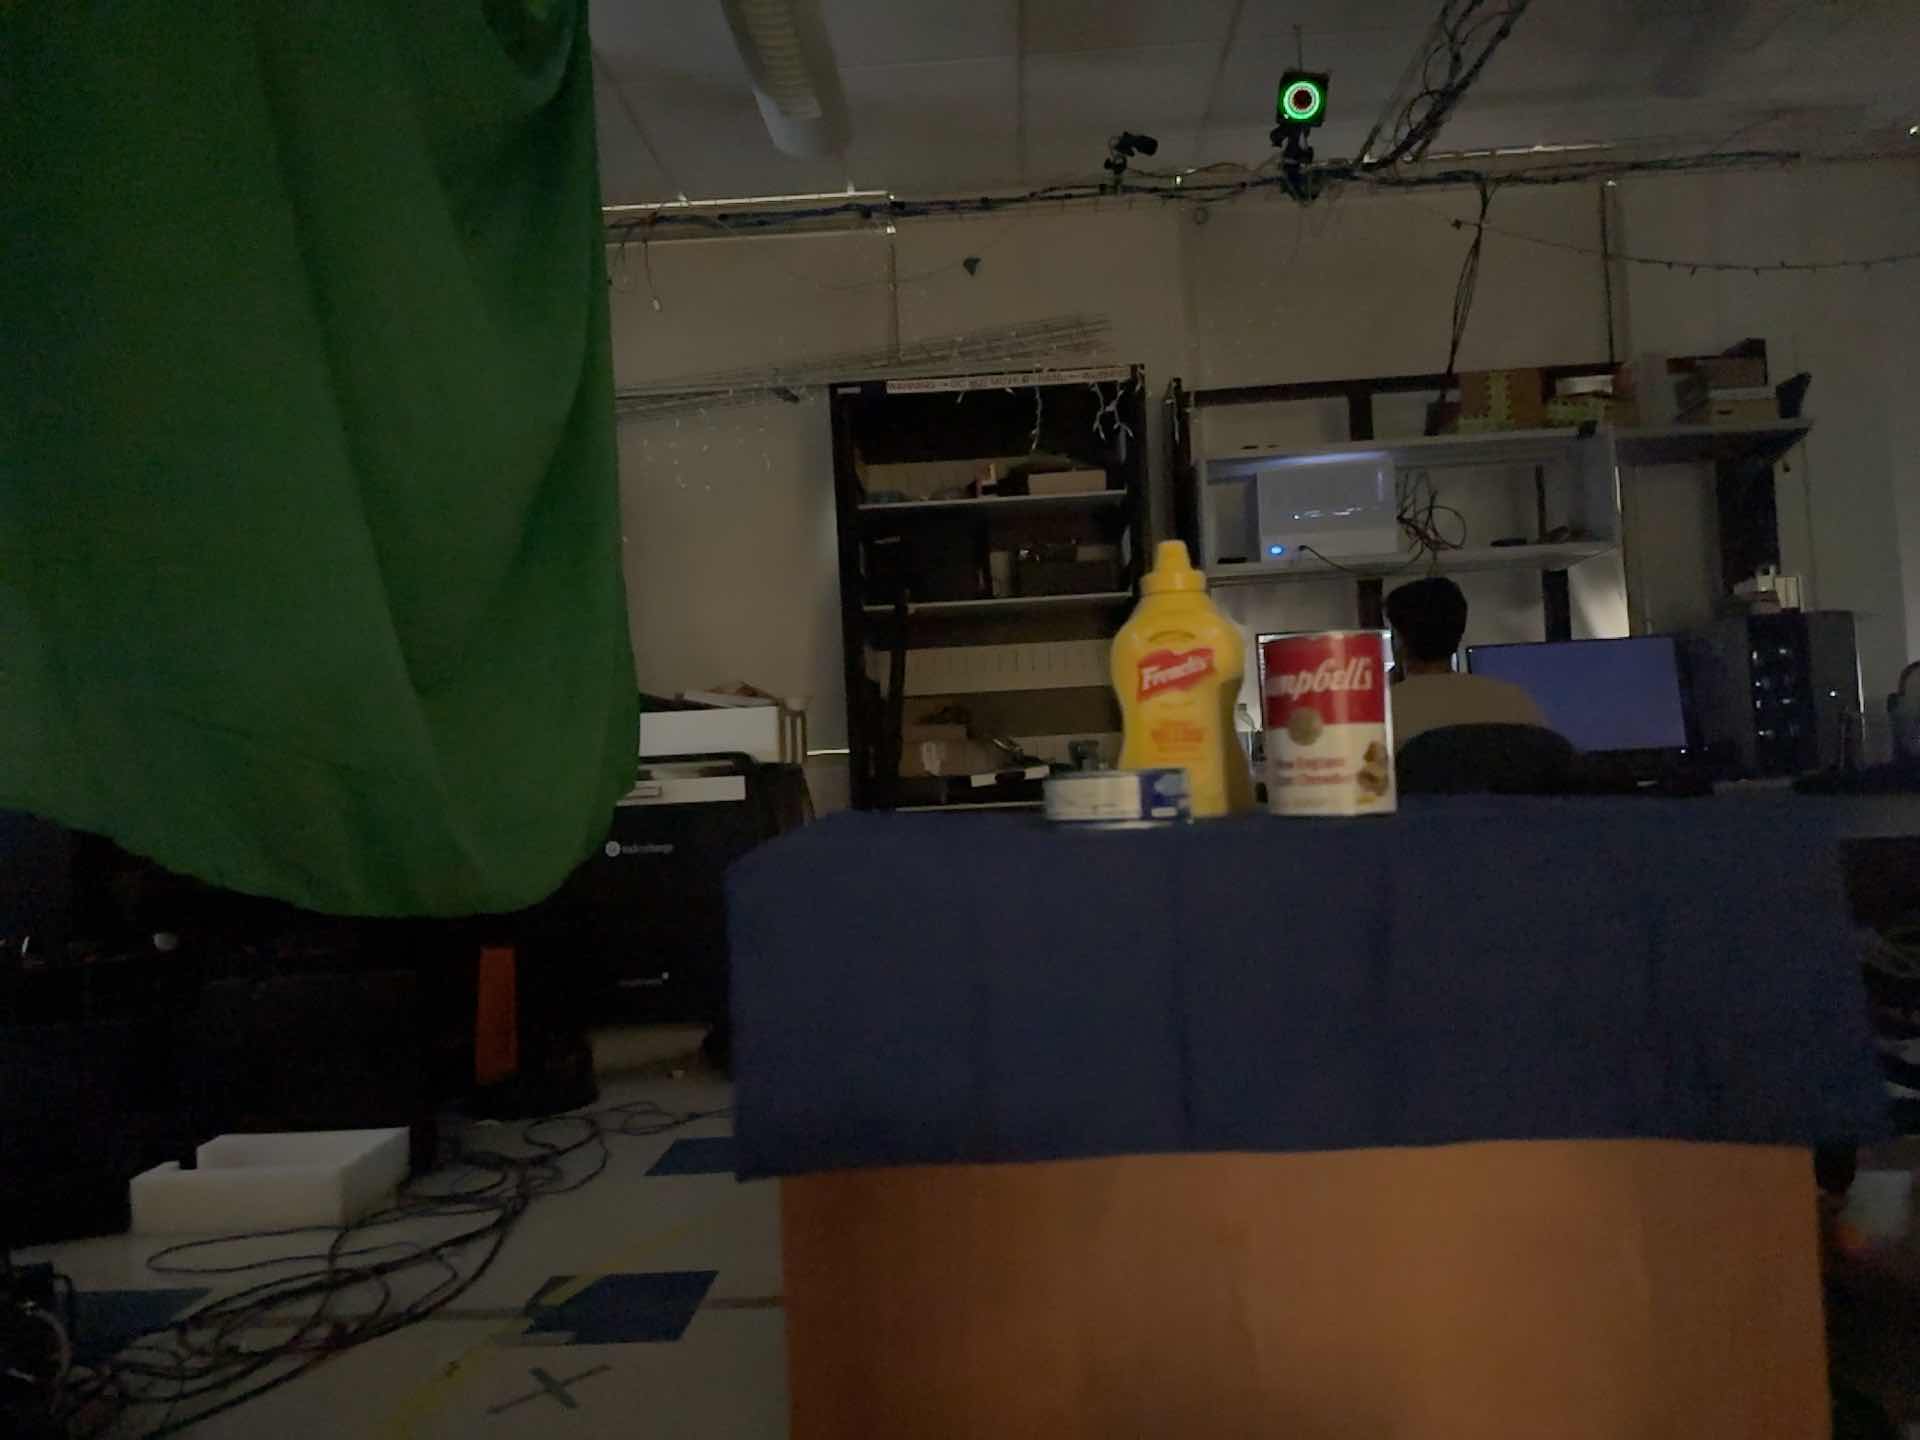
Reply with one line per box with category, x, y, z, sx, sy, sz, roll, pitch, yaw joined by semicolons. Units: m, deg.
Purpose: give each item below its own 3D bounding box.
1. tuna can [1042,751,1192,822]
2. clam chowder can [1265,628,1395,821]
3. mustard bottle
tuna can;0.089;0.037;0.770;0.083;0.034;0.083;-3;1;0
clam chowder can;0.205;0.002;0.746;0.068;0.102;0.068;-2;1;0
mustard bottle;0.141;-0.020;0.849;0.092;0.184;0.054;-2;2;17
